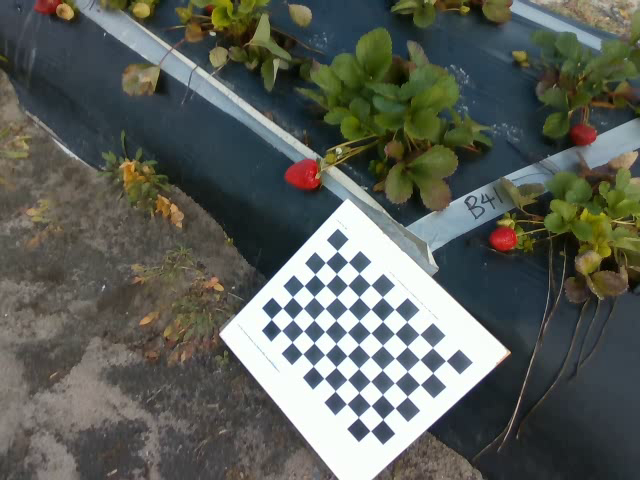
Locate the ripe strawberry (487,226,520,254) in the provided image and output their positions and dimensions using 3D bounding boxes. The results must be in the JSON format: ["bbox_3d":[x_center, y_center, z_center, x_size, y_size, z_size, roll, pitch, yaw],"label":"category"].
[{"bbox_3d":[0.226,-0.001,0.861,0.047,0.038,0.031,-12,-26,-39],"label":"ripe strawberry"}]

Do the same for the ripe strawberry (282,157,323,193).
[{"bbox_3d":[-0.019,-0.089,0.917,0.052,0.048,0.030,-3,-12,-6],"label":"ripe strawberry"}]
